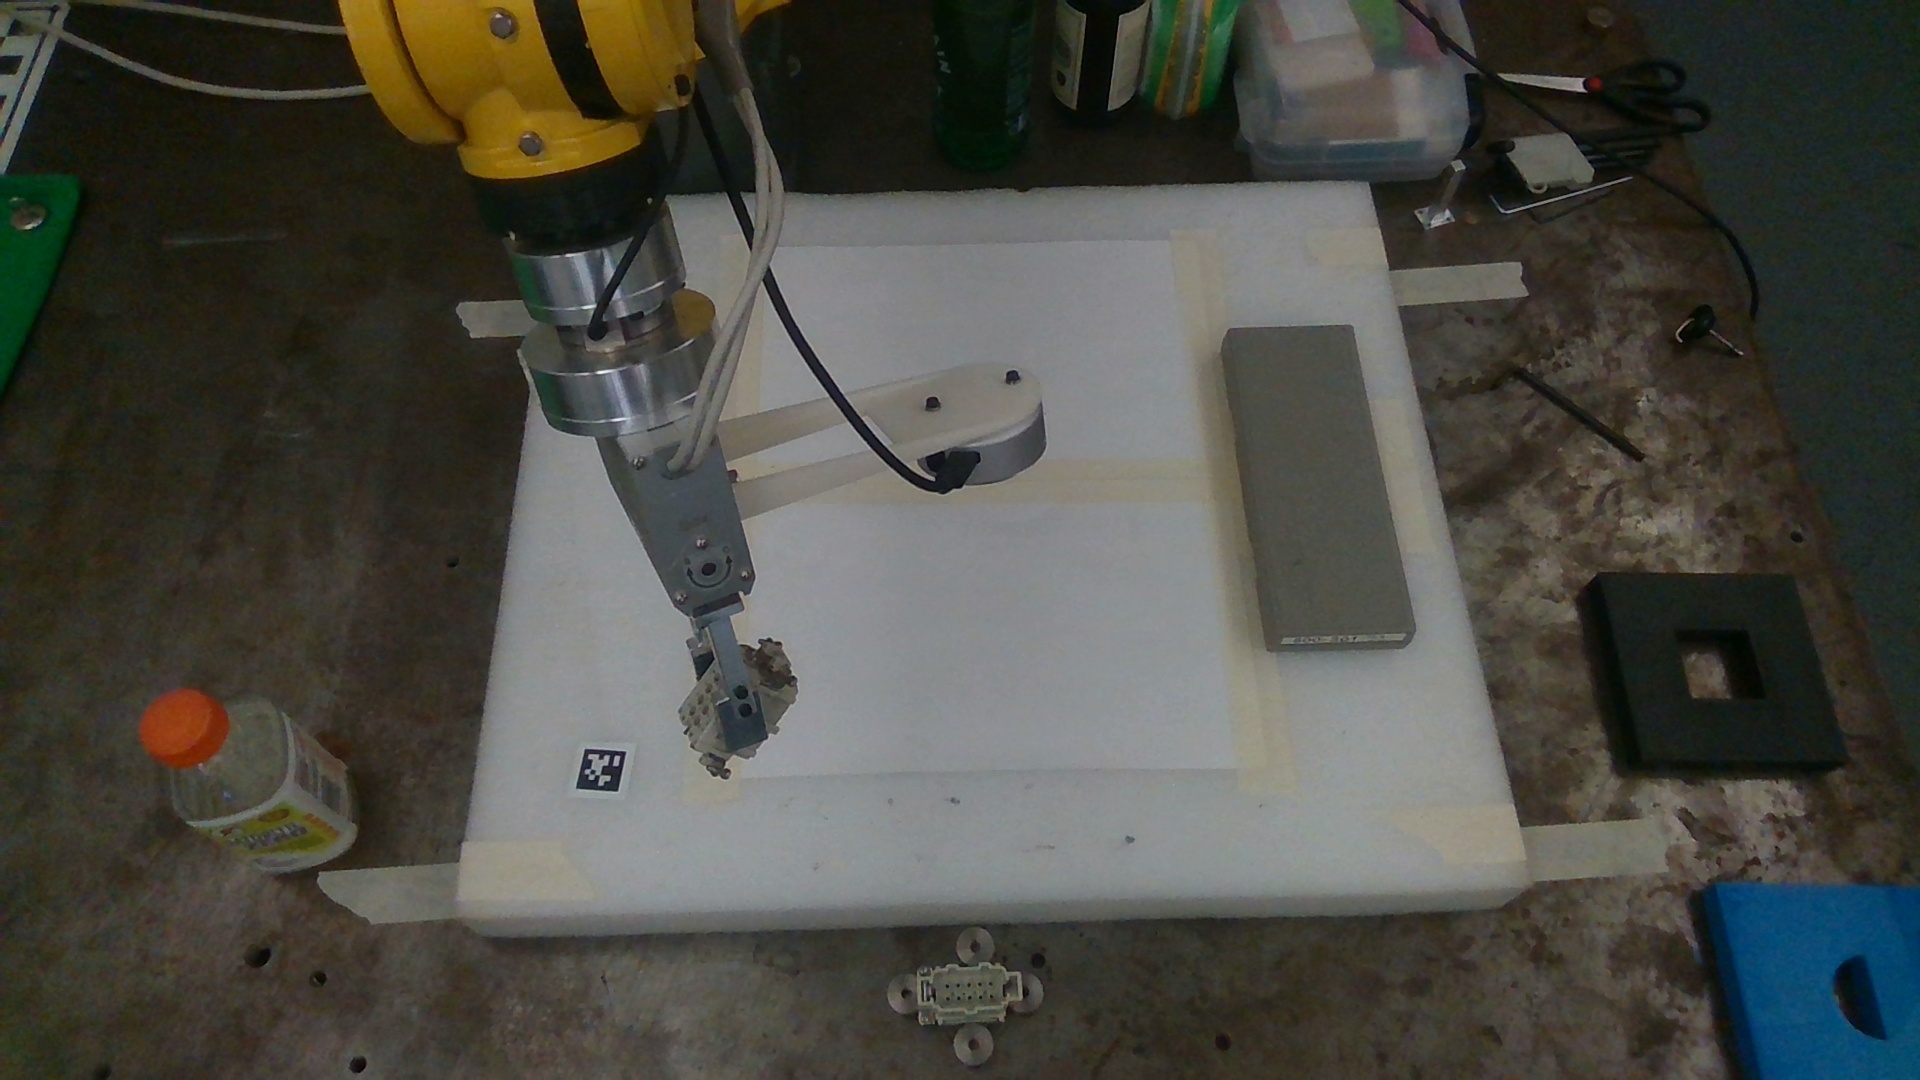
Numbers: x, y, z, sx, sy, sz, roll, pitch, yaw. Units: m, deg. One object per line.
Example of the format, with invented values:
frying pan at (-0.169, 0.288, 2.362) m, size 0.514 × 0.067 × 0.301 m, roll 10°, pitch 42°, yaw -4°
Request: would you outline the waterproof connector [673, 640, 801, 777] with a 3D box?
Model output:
waterproof connector at (-0.107, 0.083, 0.677) m, size 0.069 × 0.038 × 0.037 m, roll -47°, pitch 43°, yaw 2°
